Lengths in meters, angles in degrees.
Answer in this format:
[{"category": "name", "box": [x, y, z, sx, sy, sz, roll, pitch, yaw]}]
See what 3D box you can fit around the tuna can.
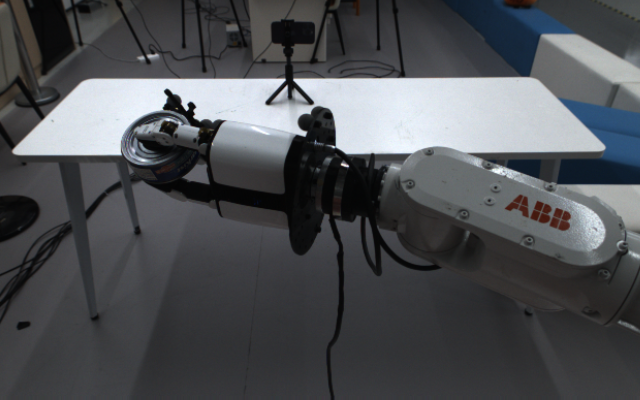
[{"category": "tuna can", "box": [-0.184, -0.063, 0.565, 0.085, 0.034, 0.085, -4, 58, 6]}]
